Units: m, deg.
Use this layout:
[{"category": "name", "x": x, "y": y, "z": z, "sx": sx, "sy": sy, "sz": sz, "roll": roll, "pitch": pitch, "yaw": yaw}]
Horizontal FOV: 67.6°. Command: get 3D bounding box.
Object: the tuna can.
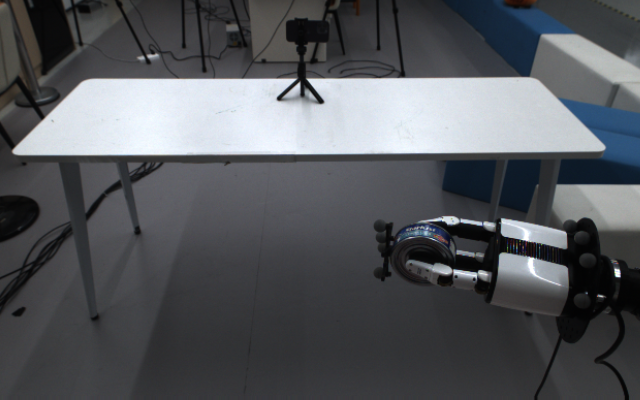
[{"category": "tuna can", "x": 0.142, "y": 0.070, "z": 0.652, "sx": 0.085, "sy": 0.085, "sz": 0.034, "roll": 9, "pitch": 32, "yaw": 10}]
